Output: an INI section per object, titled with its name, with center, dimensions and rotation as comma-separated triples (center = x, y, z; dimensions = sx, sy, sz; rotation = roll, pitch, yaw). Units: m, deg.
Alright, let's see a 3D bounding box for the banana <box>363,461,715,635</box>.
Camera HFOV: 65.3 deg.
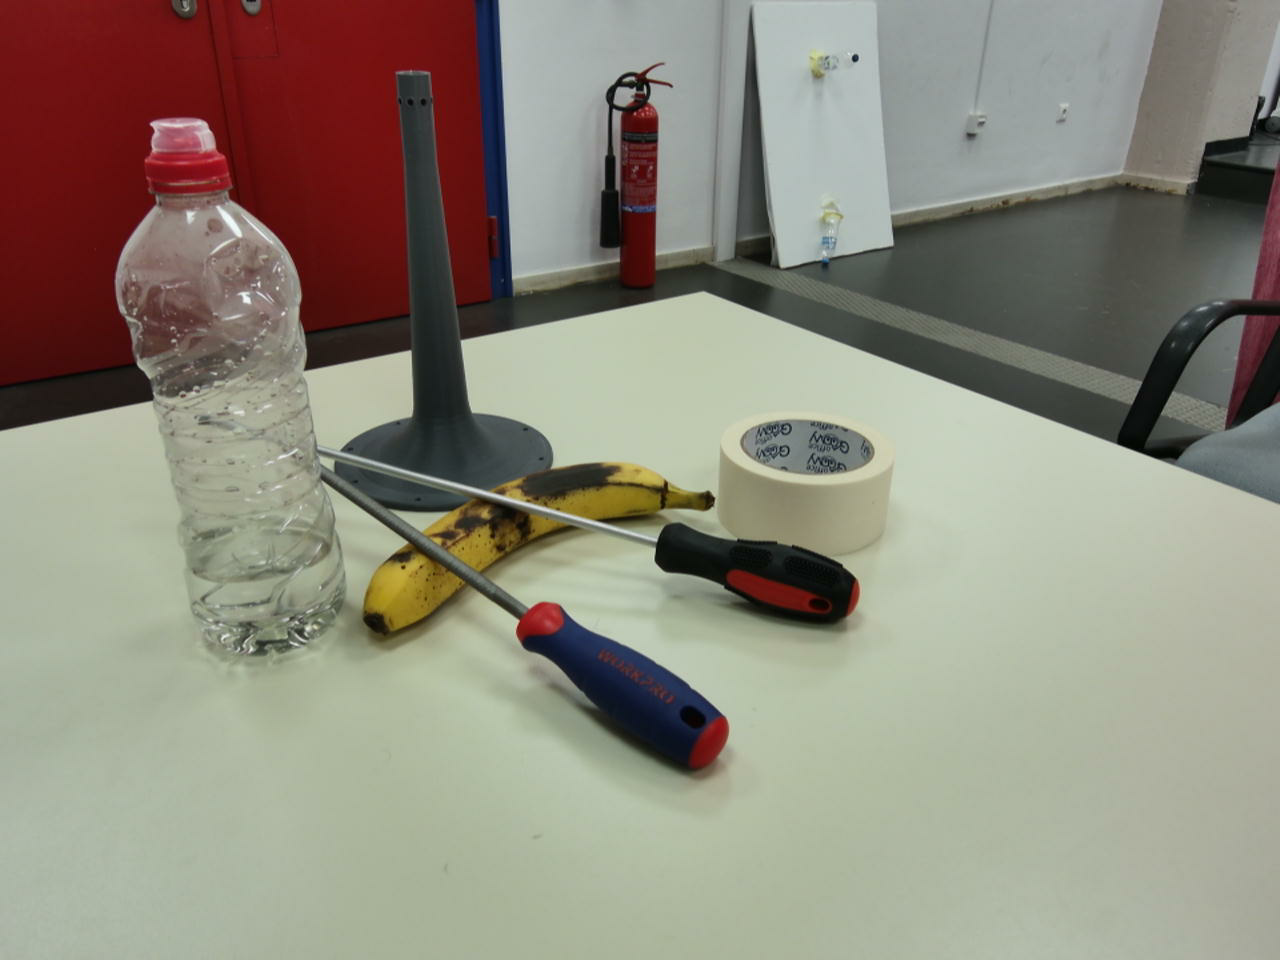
[banana]
center = -0.065, 0.027, 0.573
dimensions = 0.222, 0.037, 0.084
rotation = -17, 31, -33
